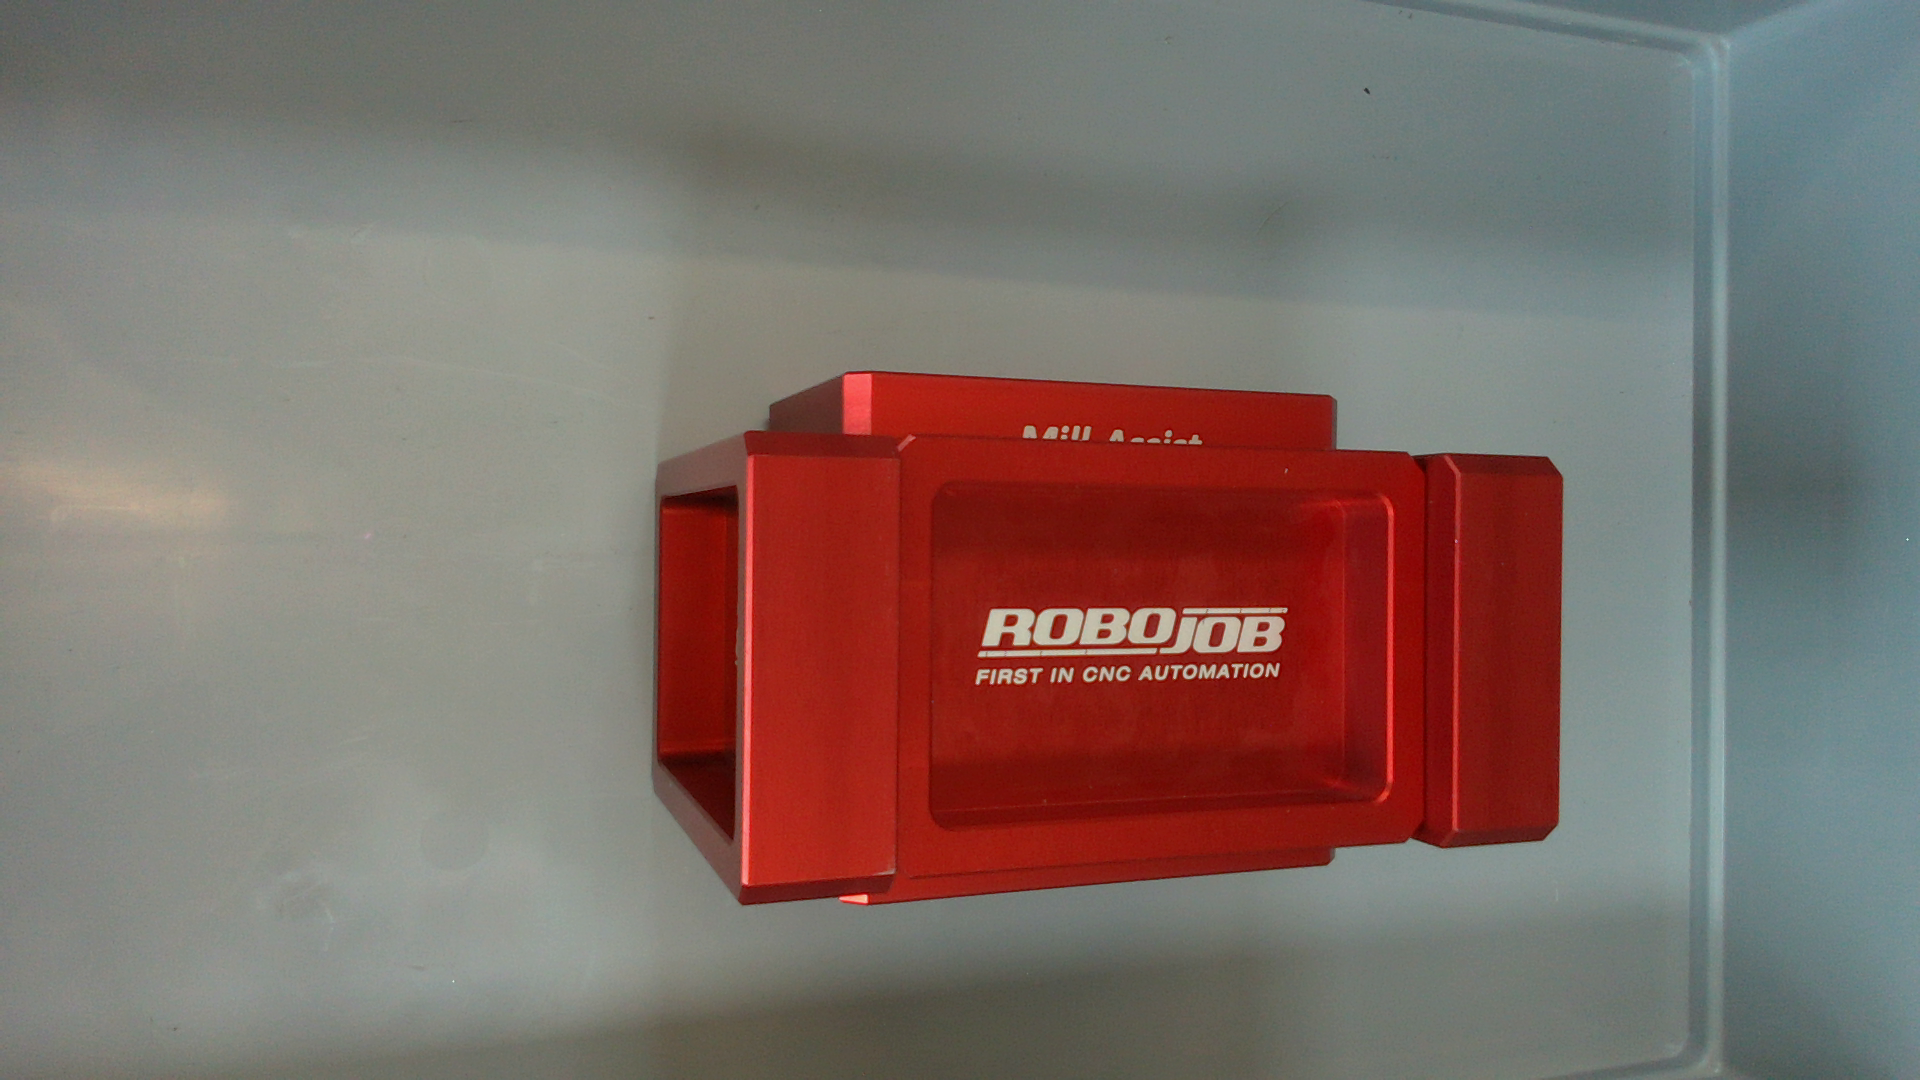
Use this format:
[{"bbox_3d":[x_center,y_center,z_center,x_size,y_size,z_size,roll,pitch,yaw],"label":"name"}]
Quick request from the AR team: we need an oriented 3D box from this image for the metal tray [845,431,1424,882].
[{"bbox_3d":[0.041,0.024,0.309,0.130,0.030,0.090,1,89,-20],"label":"metal tray"}]

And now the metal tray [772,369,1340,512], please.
[{"bbox_3d":[0.022,-0.023,0.364,0.130,0.090,0.030,0,91,-19],"label":"metal tray"}]

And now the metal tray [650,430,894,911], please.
[{"bbox_3d":[-0.049,0.024,0.319,0.030,0.130,0.090,1,90,-20],"label":"metal tray"}]

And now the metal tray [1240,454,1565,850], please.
[{"bbox_3d":[0.104,0.025,0.374,0.030,0.130,0.090,1,90,-20],"label":"metal tray"}]

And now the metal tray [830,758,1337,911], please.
[{"bbox_3d":[0.021,0.067,0.364,0.130,0.090,0.030,0,90,-20],"label":"metal tray"}]
